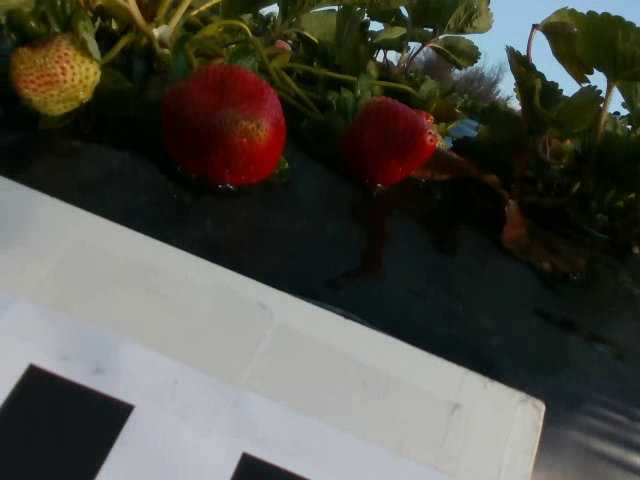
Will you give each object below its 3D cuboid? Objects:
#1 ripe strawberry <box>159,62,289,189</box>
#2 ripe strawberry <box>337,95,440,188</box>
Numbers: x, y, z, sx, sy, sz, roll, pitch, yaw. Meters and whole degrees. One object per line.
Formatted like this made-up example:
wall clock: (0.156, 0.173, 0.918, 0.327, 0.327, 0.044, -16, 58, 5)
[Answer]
ripe strawberry: (-0.032, -0.044, 0.216, 0.050, 0.050, 0.065, -14, 9, -15)
ripe strawberry: (0.032, -0.042, 0.273, 0.044, 0.042, 0.055, -37, 22, -25)
